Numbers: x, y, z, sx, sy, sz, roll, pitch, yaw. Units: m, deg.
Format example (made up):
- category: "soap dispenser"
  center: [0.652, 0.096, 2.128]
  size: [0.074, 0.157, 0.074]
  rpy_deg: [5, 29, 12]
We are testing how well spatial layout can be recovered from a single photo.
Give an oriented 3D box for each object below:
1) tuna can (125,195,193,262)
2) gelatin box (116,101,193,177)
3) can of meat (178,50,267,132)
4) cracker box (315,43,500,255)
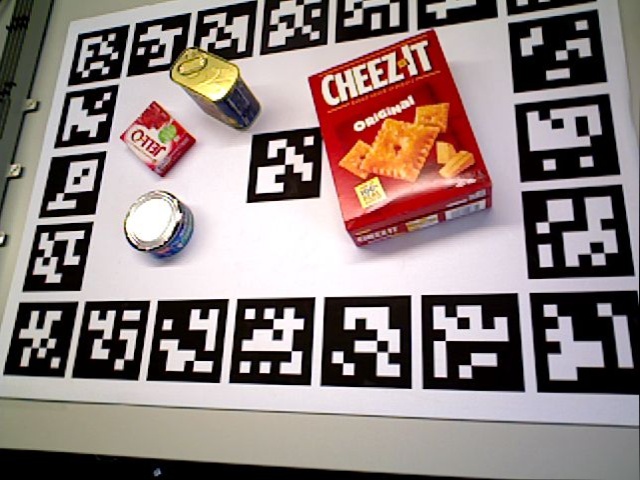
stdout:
- category: "tuna can"
  center: [-0.214, -0.014, 0.723]
  size: [0.086, 0.034, 0.085]
  rpy_deg: [-5, 73, 17]
- category: "gelatin box"
  center: [-0.237, -0.146, 0.779]
  size: [0.073, 0.030, 0.089]
  rpy_deg: [-46, 68, -5]
- category: "can of meat"
  center: [-0.131, -0.201, 0.744]
  size: [0.102, 0.084, 0.057]
  rpy_deg: [29, 80, 25]
- category: "cracker box"
  center: [0.097, -0.110, 0.646]
  size: [0.165, 0.072, 0.212]
  rpy_deg: [-18, 66, 9]
